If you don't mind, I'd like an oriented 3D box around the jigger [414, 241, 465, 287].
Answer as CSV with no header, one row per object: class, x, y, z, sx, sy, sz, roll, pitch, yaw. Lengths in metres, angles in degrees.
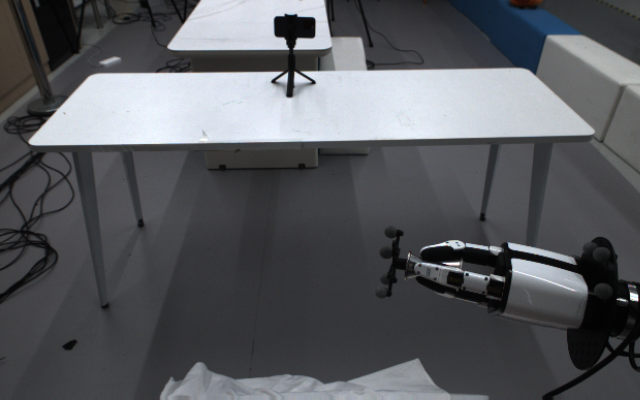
jigger,0.153,0.087,0.626,0.071,0.043,0.043,8,35,15
